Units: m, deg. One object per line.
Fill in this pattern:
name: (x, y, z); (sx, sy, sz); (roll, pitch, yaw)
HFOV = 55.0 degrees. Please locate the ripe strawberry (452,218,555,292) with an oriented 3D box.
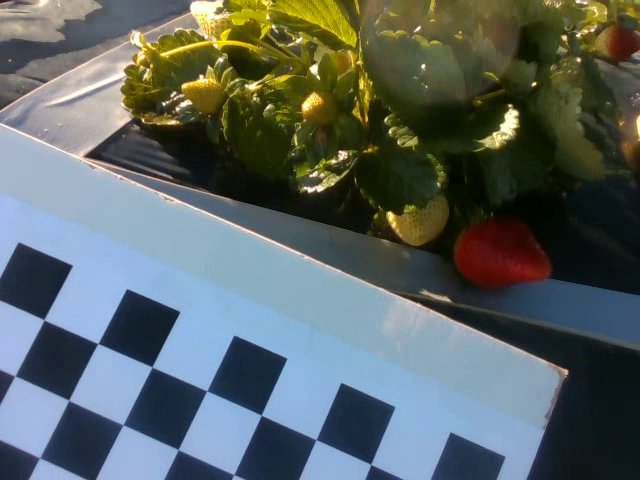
ripe strawberry: (0.093, 0.008, 0.307); (0.045, 0.049, 0.063); (-42, 24, -5)
